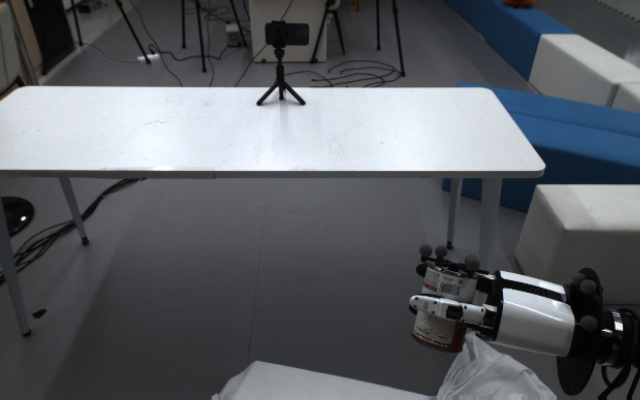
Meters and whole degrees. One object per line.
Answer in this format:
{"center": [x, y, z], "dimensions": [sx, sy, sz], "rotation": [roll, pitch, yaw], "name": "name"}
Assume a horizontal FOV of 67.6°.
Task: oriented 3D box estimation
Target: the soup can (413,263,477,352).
{"center": [0.167, 0.139, 0.640], "dimensions": [0.067, 0.101, 0.067], "rotation": [12, 2, 0], "name": "soup can"}
